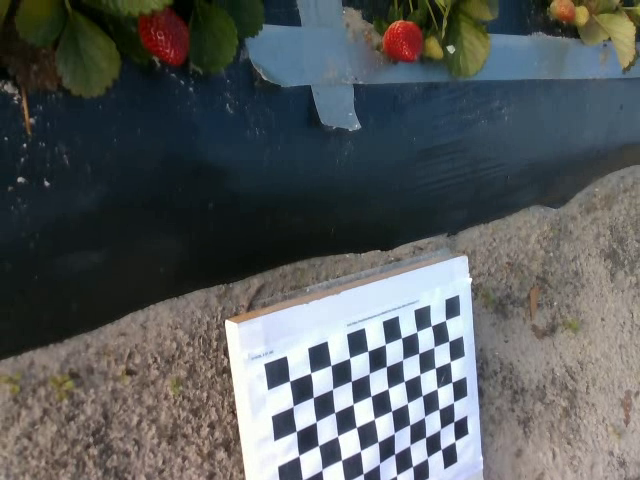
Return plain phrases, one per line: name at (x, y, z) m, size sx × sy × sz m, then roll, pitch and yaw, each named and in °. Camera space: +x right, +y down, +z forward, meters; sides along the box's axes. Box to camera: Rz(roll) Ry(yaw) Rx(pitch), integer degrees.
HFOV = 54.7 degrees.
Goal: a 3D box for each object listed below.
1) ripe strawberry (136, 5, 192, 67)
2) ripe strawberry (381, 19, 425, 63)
ripe strawberry at (-0.051, -0.066, 0.206) m, size 0.018 × 0.023 × 0.021 m, roll -19°, pitch -15°, yaw -17°
ripe strawberry at (0.041, -0.088, 0.280) m, size 0.023 × 0.026 × 0.021 m, roll -1°, pitch -37°, yaw -13°
